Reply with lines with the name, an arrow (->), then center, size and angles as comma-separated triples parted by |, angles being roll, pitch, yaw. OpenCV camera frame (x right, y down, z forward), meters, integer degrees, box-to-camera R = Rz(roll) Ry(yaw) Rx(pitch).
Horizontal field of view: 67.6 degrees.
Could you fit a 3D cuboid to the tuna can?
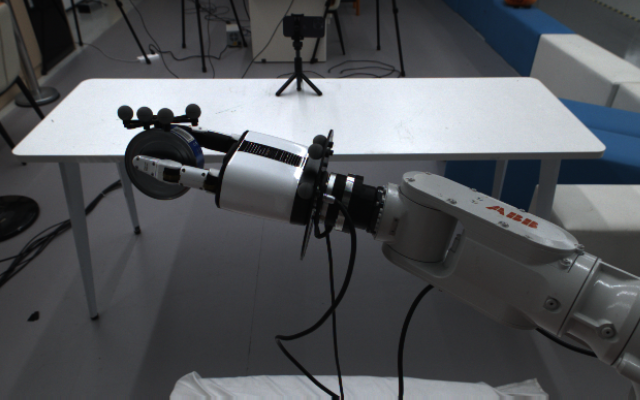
tuna can -> -0.180, -0.043, 0.575 | 0.085, 0.085, 0.034 | 4, 17, 2
